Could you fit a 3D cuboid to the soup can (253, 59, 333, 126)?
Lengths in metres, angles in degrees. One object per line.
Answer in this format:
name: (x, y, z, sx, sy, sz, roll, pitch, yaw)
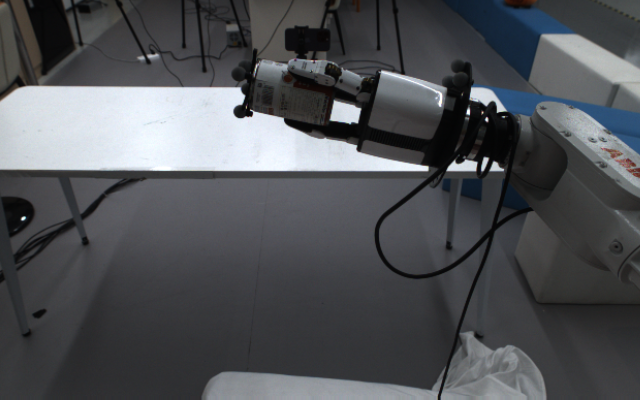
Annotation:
soup can: (-0.031, -0.135, 0.614, 0.101, 0.067, 0.067, 12, 35, -1)
